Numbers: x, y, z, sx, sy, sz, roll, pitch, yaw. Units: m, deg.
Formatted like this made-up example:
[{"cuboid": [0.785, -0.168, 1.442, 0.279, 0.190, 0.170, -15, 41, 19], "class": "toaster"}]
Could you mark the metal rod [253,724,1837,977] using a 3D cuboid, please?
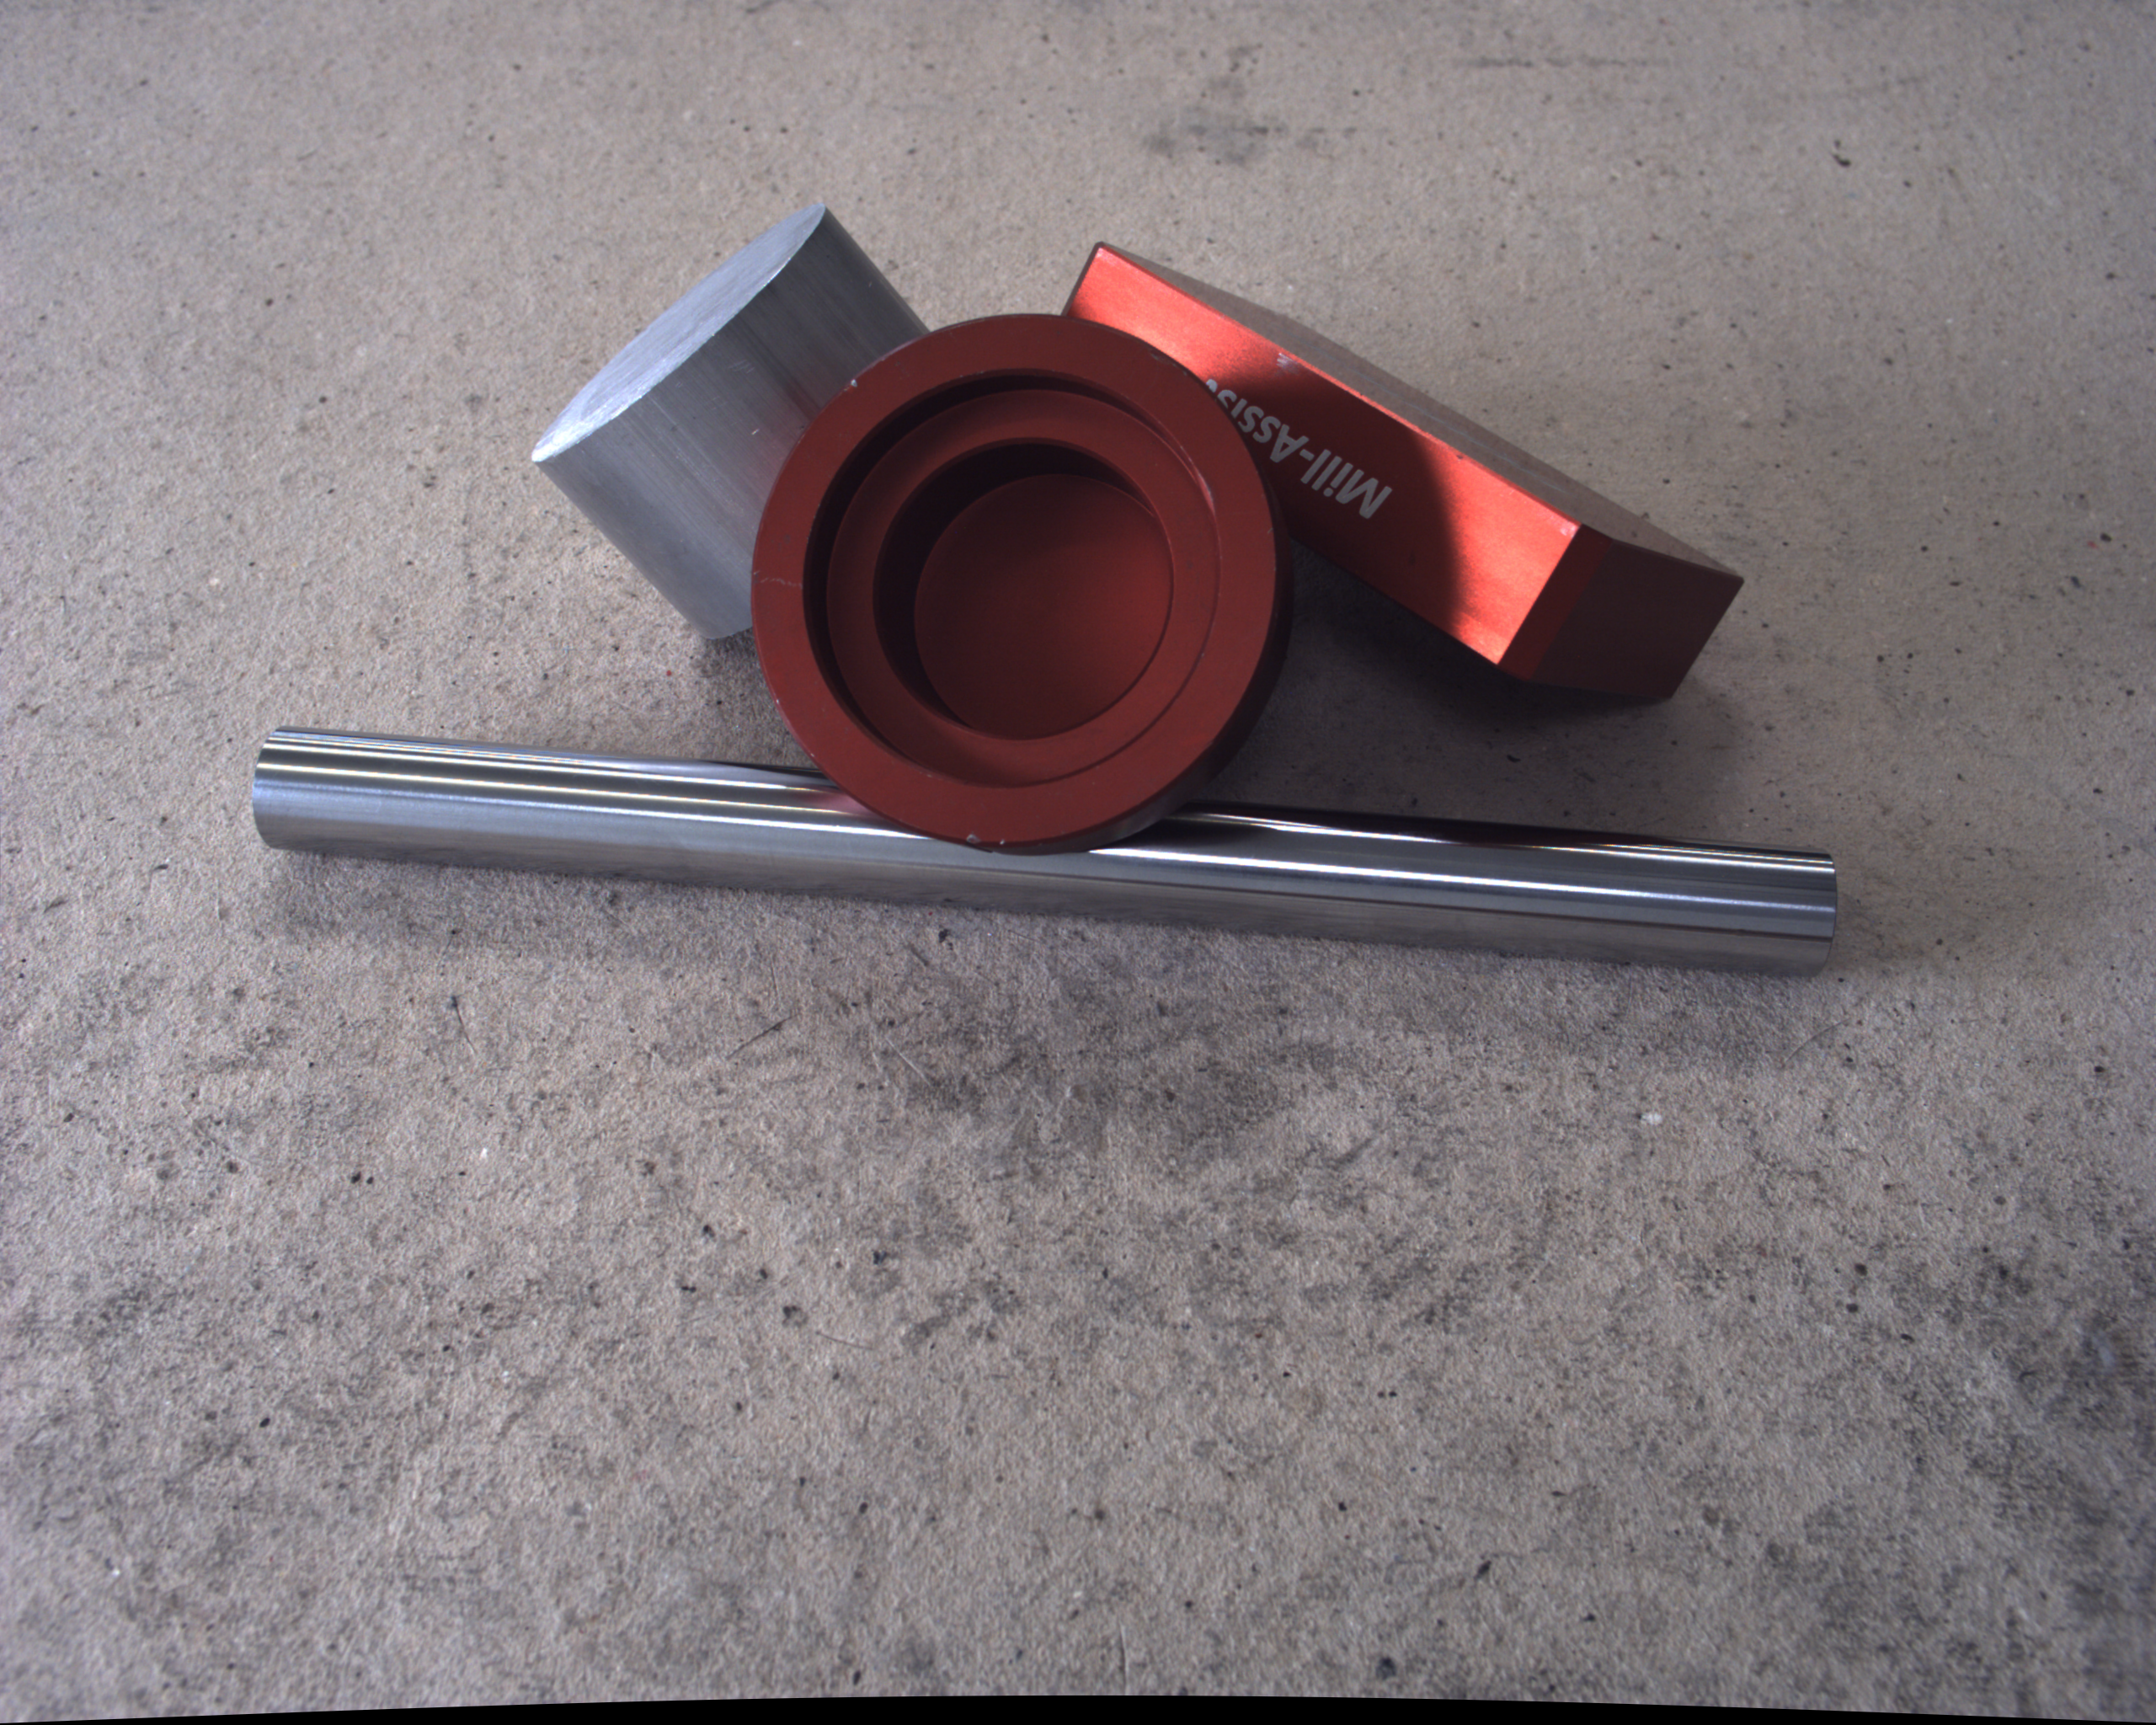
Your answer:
[{"cuboid": [-0.009, -0.003, 0.407, 0.302, 0.025, 0.025, 5, 50, 4], "class": "metal rod"}]

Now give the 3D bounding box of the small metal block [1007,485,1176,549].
[{"cuboid": [-0.001, -0.066, 0.442, 0.050, 0.050, 0.025, 19, 53, 15], "class": "small metal block"}]

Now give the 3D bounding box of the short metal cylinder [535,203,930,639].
[{"cuboid": [-0.068, -0.093, 0.441, 0.080, 0.050, 0.080, -33, 26, 19], "class": "short metal cylinder"}]

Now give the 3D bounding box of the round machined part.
[{"cuboid": [-0.008, -0.050, 0.395, 0.098, 0.042, 0.097, -1, 85, 12], "class": "round machined part"}]

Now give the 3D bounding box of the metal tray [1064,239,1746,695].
[{"cuboid": [0.066, -0.082, 0.438, 0.130, 0.030, 0.091, 38, 21, 27], "class": "metal tray"}]
